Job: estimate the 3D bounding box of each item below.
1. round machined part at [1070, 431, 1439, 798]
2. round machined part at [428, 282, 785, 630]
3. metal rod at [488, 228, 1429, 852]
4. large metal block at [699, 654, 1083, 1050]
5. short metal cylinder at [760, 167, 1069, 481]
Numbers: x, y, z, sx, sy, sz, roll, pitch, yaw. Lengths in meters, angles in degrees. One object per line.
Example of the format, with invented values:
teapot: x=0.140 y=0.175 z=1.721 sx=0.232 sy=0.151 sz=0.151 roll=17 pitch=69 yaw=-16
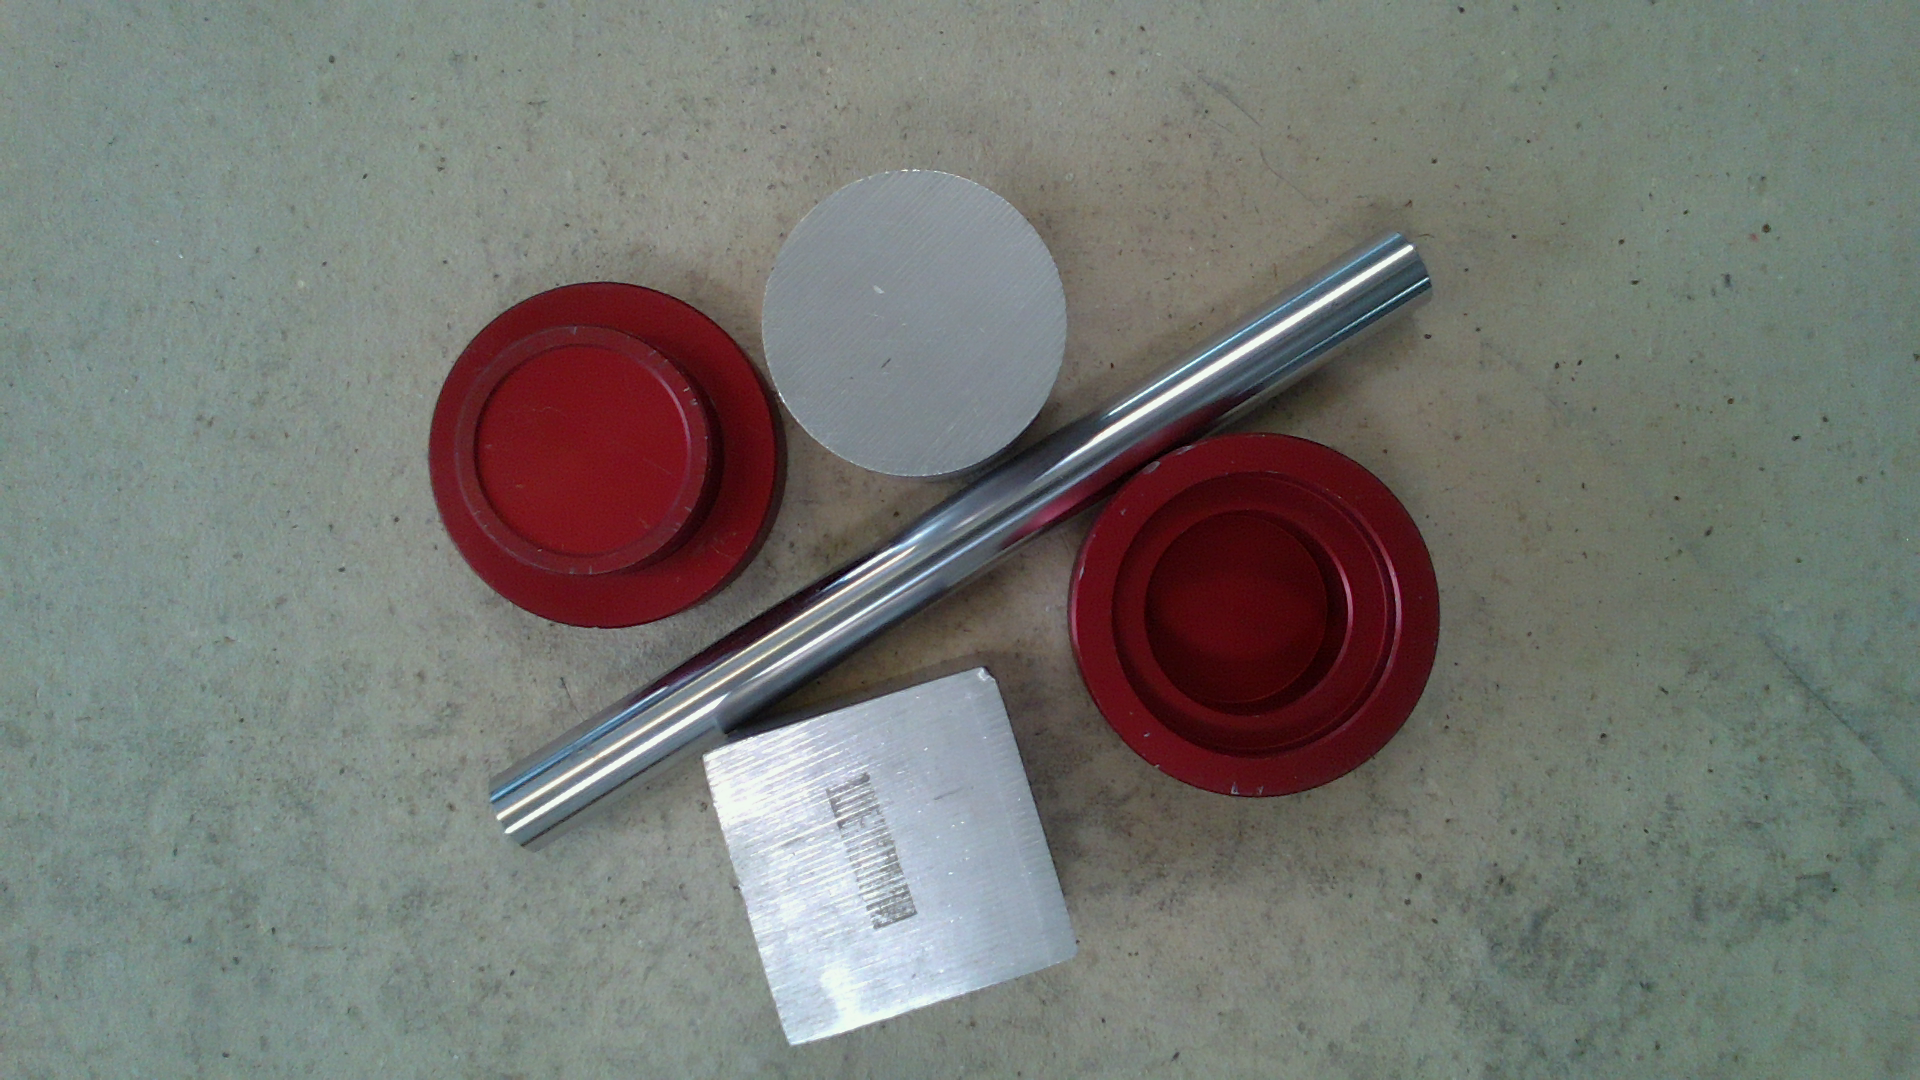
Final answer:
round machined part: x=0.079 y=0.020 z=0.387 sx=0.098 sy=0.042 sz=0.098 roll=0 pitch=90 yaw=0
round machined part: x=-0.101 y=-0.024 z=0.386 sx=0.098 sy=0.042 sz=0.098 roll=0 pitch=90 yaw=0
metal rod: x=0.000 y=0.000 z=0.396 sx=0.300 sy=0.025 sz=0.025 roll=-32 pitch=90 yaw=0
large metal block: x=-0.018 y=0.083 z=0.384 sx=0.080 sy=0.050 sz=0.080 roll=-17 pitch=90 yaw=0
short metal cylinder: x=-0.012 y=-0.057 z=0.382 sx=0.080 sy=0.050 sz=0.080 roll=0 pitch=90 yaw=0
